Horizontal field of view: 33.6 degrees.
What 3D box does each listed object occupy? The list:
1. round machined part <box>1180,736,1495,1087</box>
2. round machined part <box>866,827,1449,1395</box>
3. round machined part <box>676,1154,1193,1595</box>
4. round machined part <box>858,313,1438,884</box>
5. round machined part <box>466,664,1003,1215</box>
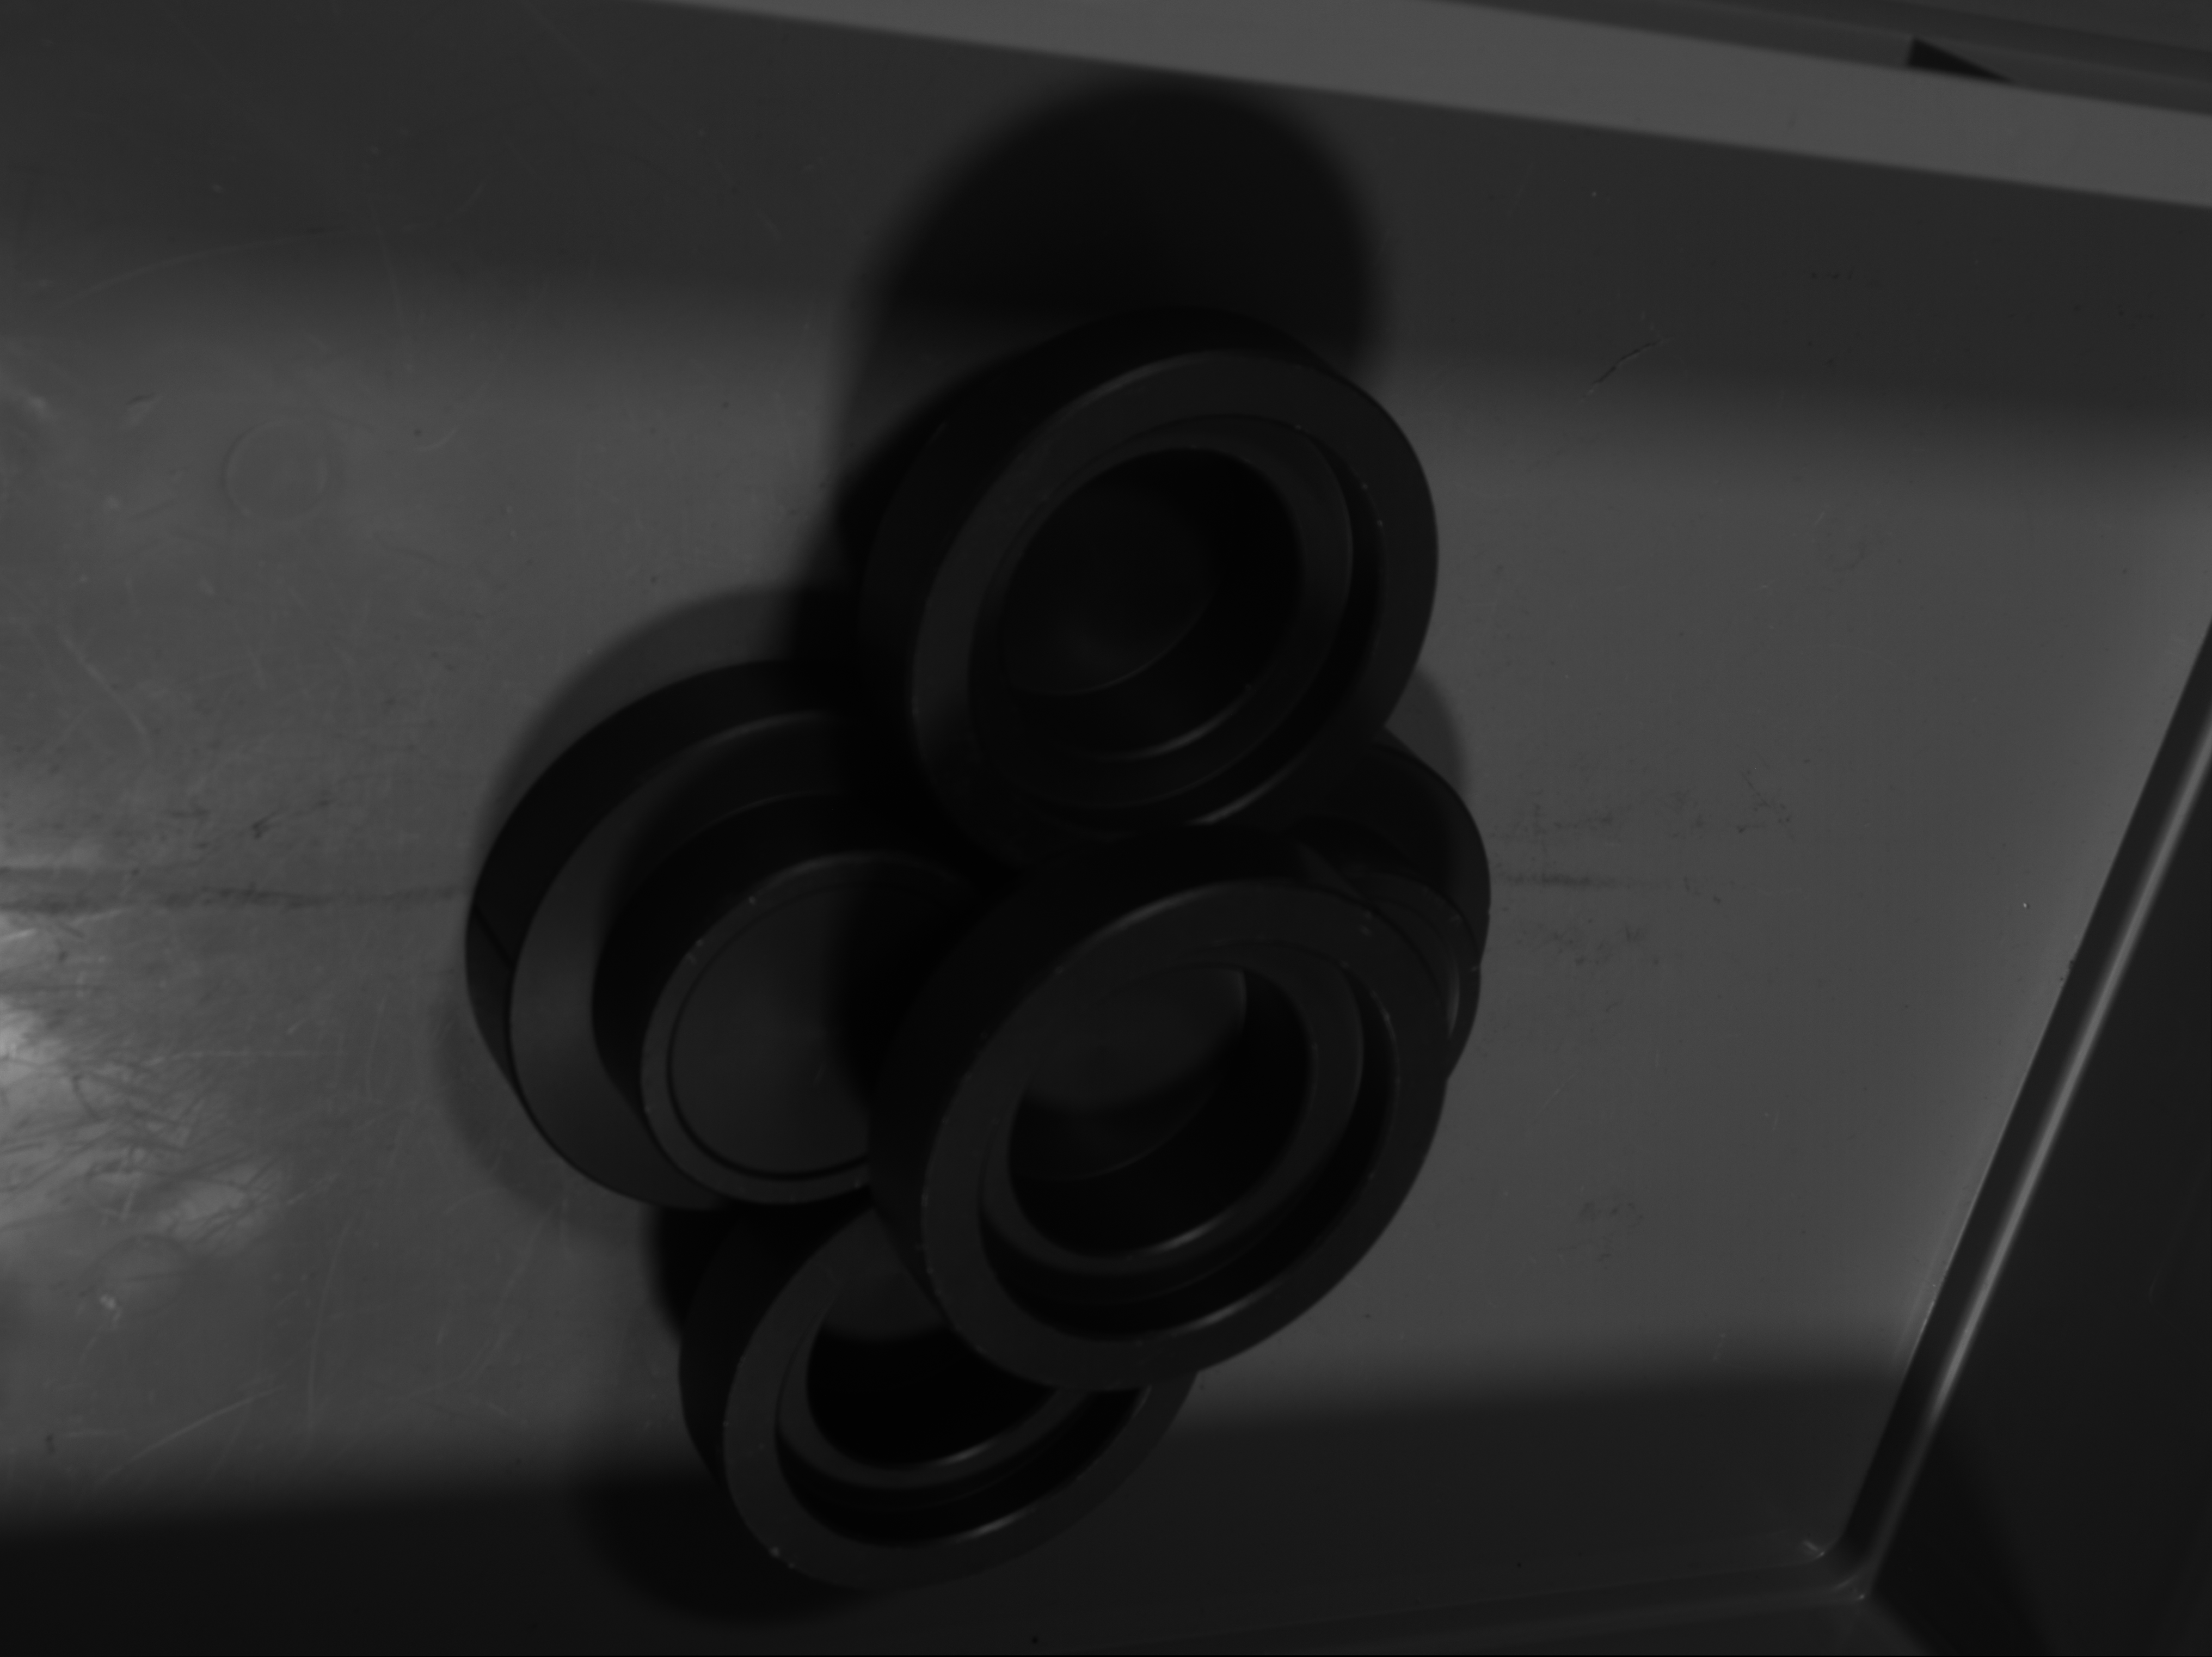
[{"bbox_3d":[0.030,0.028,0.672,0.098,0.042,0.098,-15,125,-22],"label":"round machined part"},{"bbox_3d":[0.005,0.043,0.612,0.098,0.042,0.098,-15,125,-22],"label":"round machined part"},{"bbox_3d":[-0.033,0.089,0.674,0.098,0.042,0.098,-15,125,-22],"label":"round machined part"},{"bbox_3d":[0.003,-0.041,0.614,0.098,0.042,0.098,-15,125,-22],"label":"round machined part"},{"bbox_3d":[-0.055,0.025,0.621,0.098,0.042,0.098,-15,125,-22],"label":"round machined part"}]
